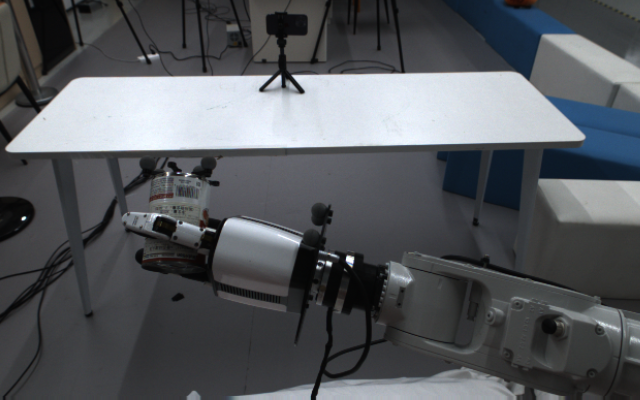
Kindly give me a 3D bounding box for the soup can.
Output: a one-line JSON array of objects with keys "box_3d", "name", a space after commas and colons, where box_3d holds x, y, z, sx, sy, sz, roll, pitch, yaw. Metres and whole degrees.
[{"box_3d": [-0.158, 0.028, 0.539, 0.067, 0.067, 0.101, 1, 73, -2], "name": "soup can"}]
